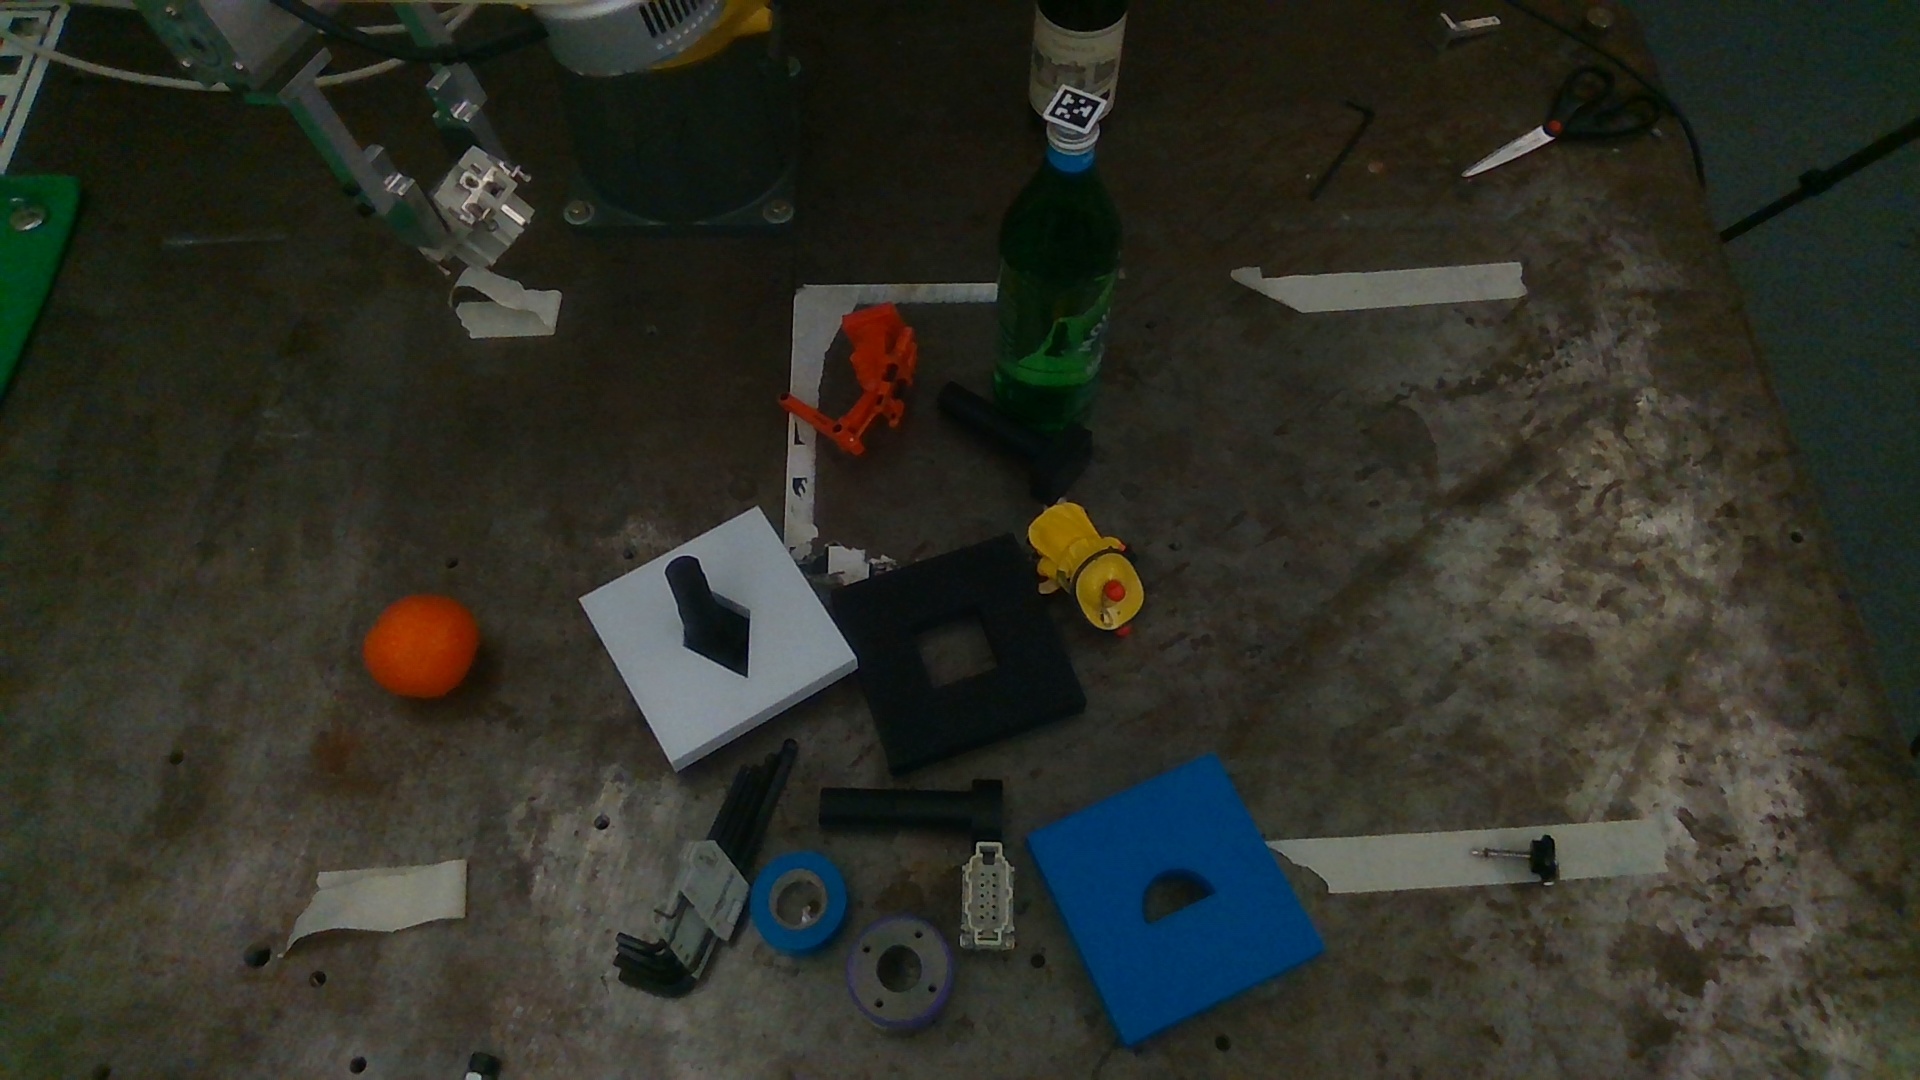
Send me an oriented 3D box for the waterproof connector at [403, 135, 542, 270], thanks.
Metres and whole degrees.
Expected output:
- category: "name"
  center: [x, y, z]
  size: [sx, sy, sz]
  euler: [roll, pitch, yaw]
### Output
- category: "waterproof connector"
  center: [-0.208, -0.142, 0.598]
  size: [0.038, 0.069, 0.036]
  euler: [40, 56, -25]
